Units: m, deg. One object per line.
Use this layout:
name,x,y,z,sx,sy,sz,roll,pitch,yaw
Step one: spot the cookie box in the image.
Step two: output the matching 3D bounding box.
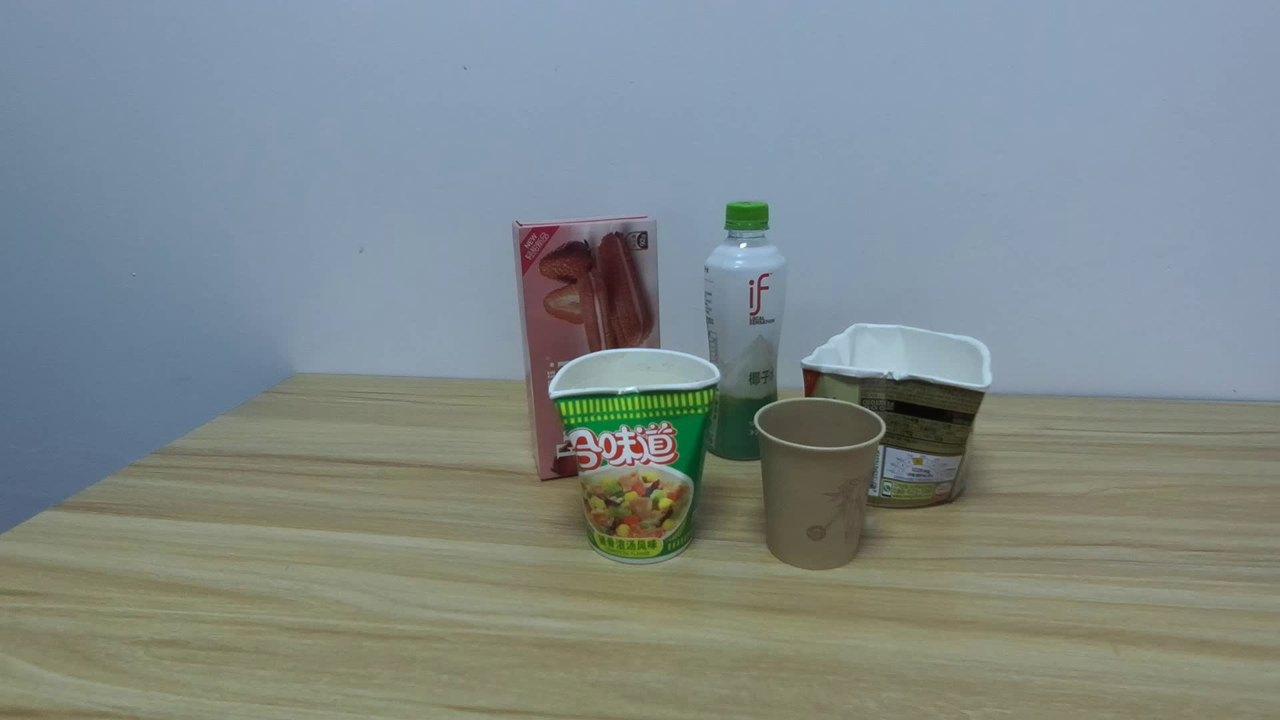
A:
cookie box,-0.035,-0.010,0.521,0.096,0.184,0.048,-7,18,-12

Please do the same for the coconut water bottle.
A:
coconut water bottle,0.080,-0.021,0.533,0.063,0.188,0.063,-1,16,1

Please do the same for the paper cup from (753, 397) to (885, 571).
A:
paper cup,0.103,0.074,0.416,0.075,0.082,0.075,-1,18,1

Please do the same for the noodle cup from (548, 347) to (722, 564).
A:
noodle cup,0.002,0.057,0.432,0.093,0.109,0.087,4,20,16
